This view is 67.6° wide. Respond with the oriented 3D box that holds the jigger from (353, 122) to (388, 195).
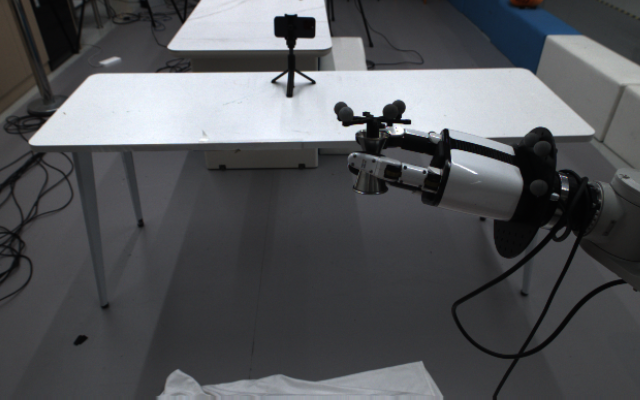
[{"bbox_3d":[0.058,-0.047,0.582,0.043,0.071,0.043,0,21,0],"label":"jigger"}]
